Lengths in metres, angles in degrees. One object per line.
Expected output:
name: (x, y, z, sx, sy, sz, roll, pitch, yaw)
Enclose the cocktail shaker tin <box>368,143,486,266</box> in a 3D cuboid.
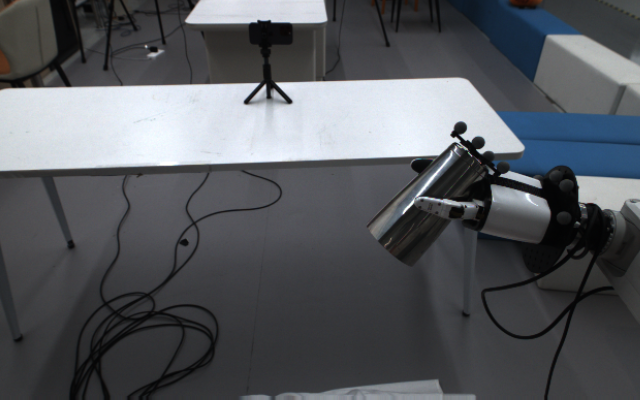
cocktail shaker tin: (0.158, -0.002, 0.695, 0.093, 0.170, 0.093, 41, 12, -11)
